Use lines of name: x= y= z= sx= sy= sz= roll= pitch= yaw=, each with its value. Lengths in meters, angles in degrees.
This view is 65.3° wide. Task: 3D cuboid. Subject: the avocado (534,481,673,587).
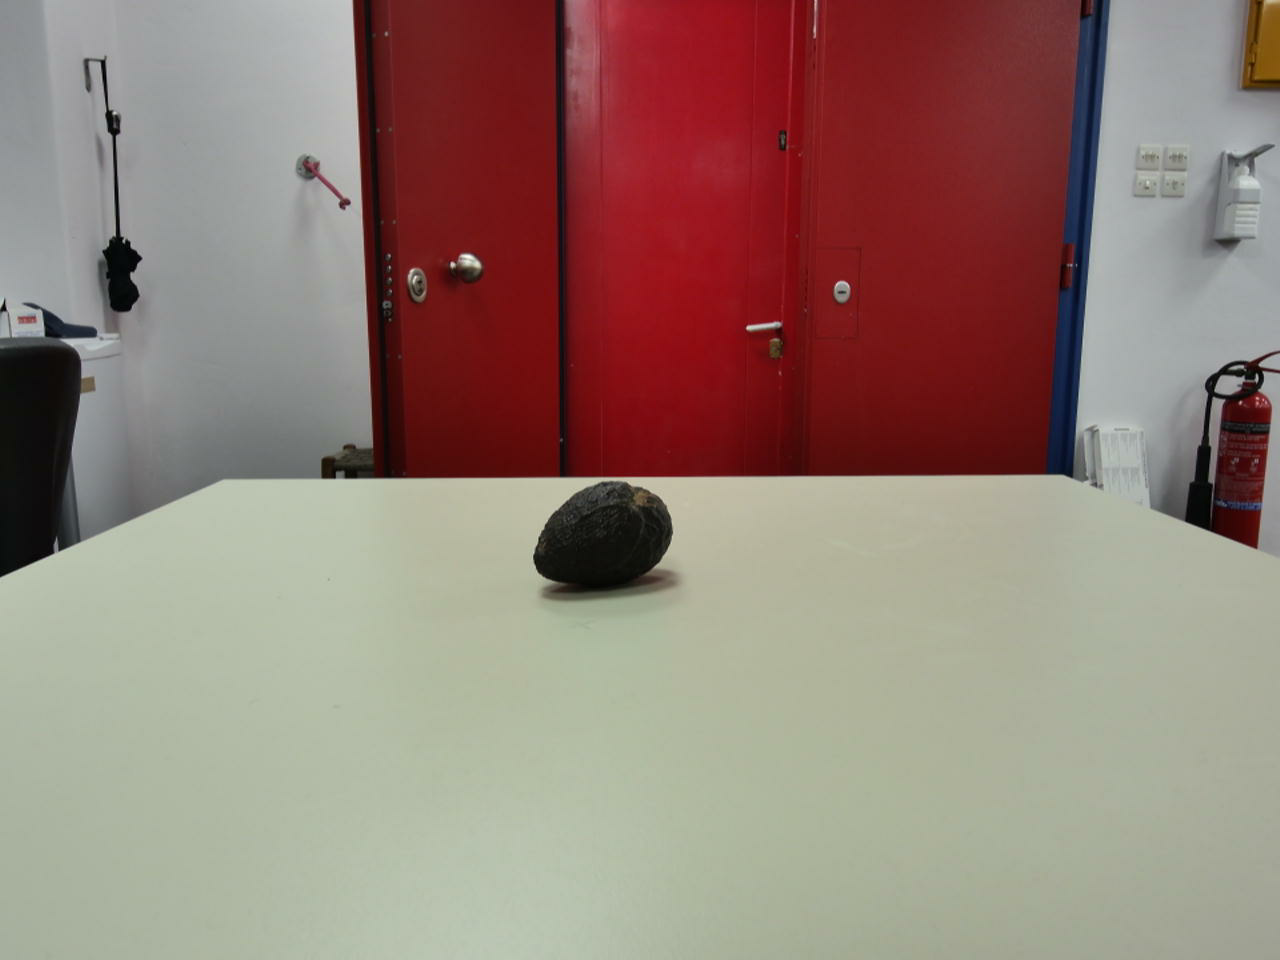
avocado: x=-0.023 y=0.033 z=0.606 sx=0.092 sy=0.062 sz=0.062 roll=-3 pitch=9 yaw=-24
